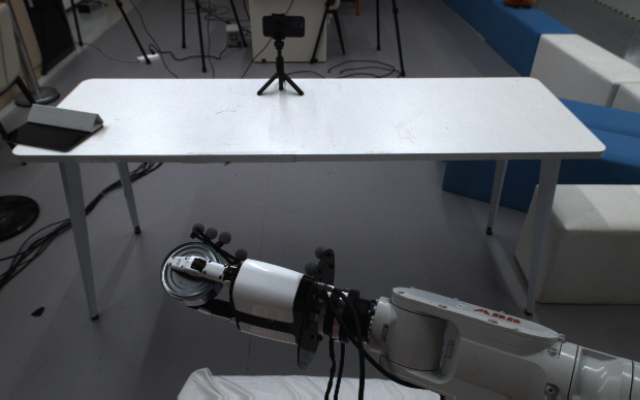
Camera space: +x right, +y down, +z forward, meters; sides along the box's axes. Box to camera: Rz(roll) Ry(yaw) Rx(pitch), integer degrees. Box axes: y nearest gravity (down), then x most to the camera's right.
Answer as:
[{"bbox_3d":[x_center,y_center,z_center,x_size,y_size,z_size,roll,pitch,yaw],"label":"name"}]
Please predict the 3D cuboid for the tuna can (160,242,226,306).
[{"bbox_3d":[-0.176,0.105,0.678,0.085,0.034,0.085,-1,59,3],"label":"tuna can"}]
